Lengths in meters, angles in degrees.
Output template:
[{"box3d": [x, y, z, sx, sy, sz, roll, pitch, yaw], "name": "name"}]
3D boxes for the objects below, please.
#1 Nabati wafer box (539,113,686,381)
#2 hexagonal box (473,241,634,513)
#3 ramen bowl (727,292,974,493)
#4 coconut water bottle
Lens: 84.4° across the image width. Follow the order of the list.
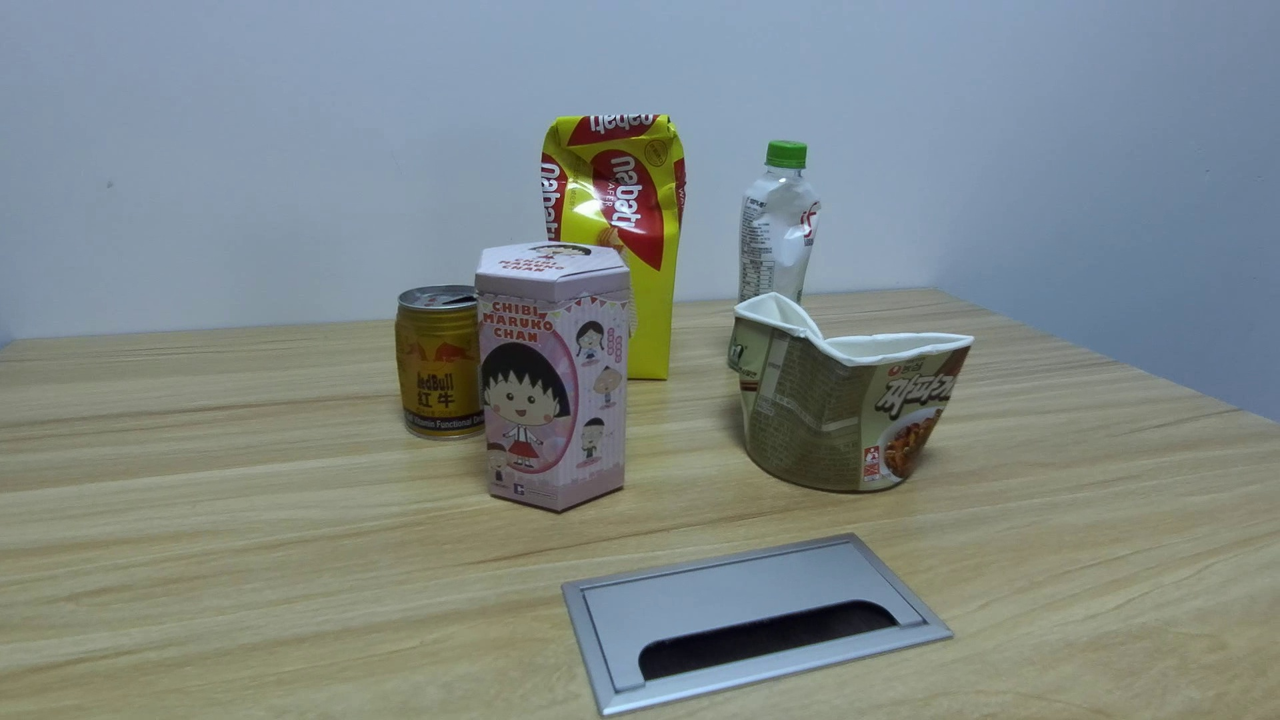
[{"box3d": [-0.020, -0.085, 0.559, 0.113, 0.205, 0.042, 0, 19, -3], "name": "Nabati wafer box"}, {"box3d": [-0.050, 0.008, 0.410, 0.091, 0.136, 0.084, 9, 22, 18], "name": "hexagonal box"}, {"box3d": [0.123, 0.016, 0.461, 0.112, 0.093, 0.127, -11, 26, -30], "name": "ramen bowl"}, {"box3d": [0.111, -0.081, 0.582, 0.069, 0.187, 0.069, 3, 17, -1], "name": "coconut water bottle"}]
